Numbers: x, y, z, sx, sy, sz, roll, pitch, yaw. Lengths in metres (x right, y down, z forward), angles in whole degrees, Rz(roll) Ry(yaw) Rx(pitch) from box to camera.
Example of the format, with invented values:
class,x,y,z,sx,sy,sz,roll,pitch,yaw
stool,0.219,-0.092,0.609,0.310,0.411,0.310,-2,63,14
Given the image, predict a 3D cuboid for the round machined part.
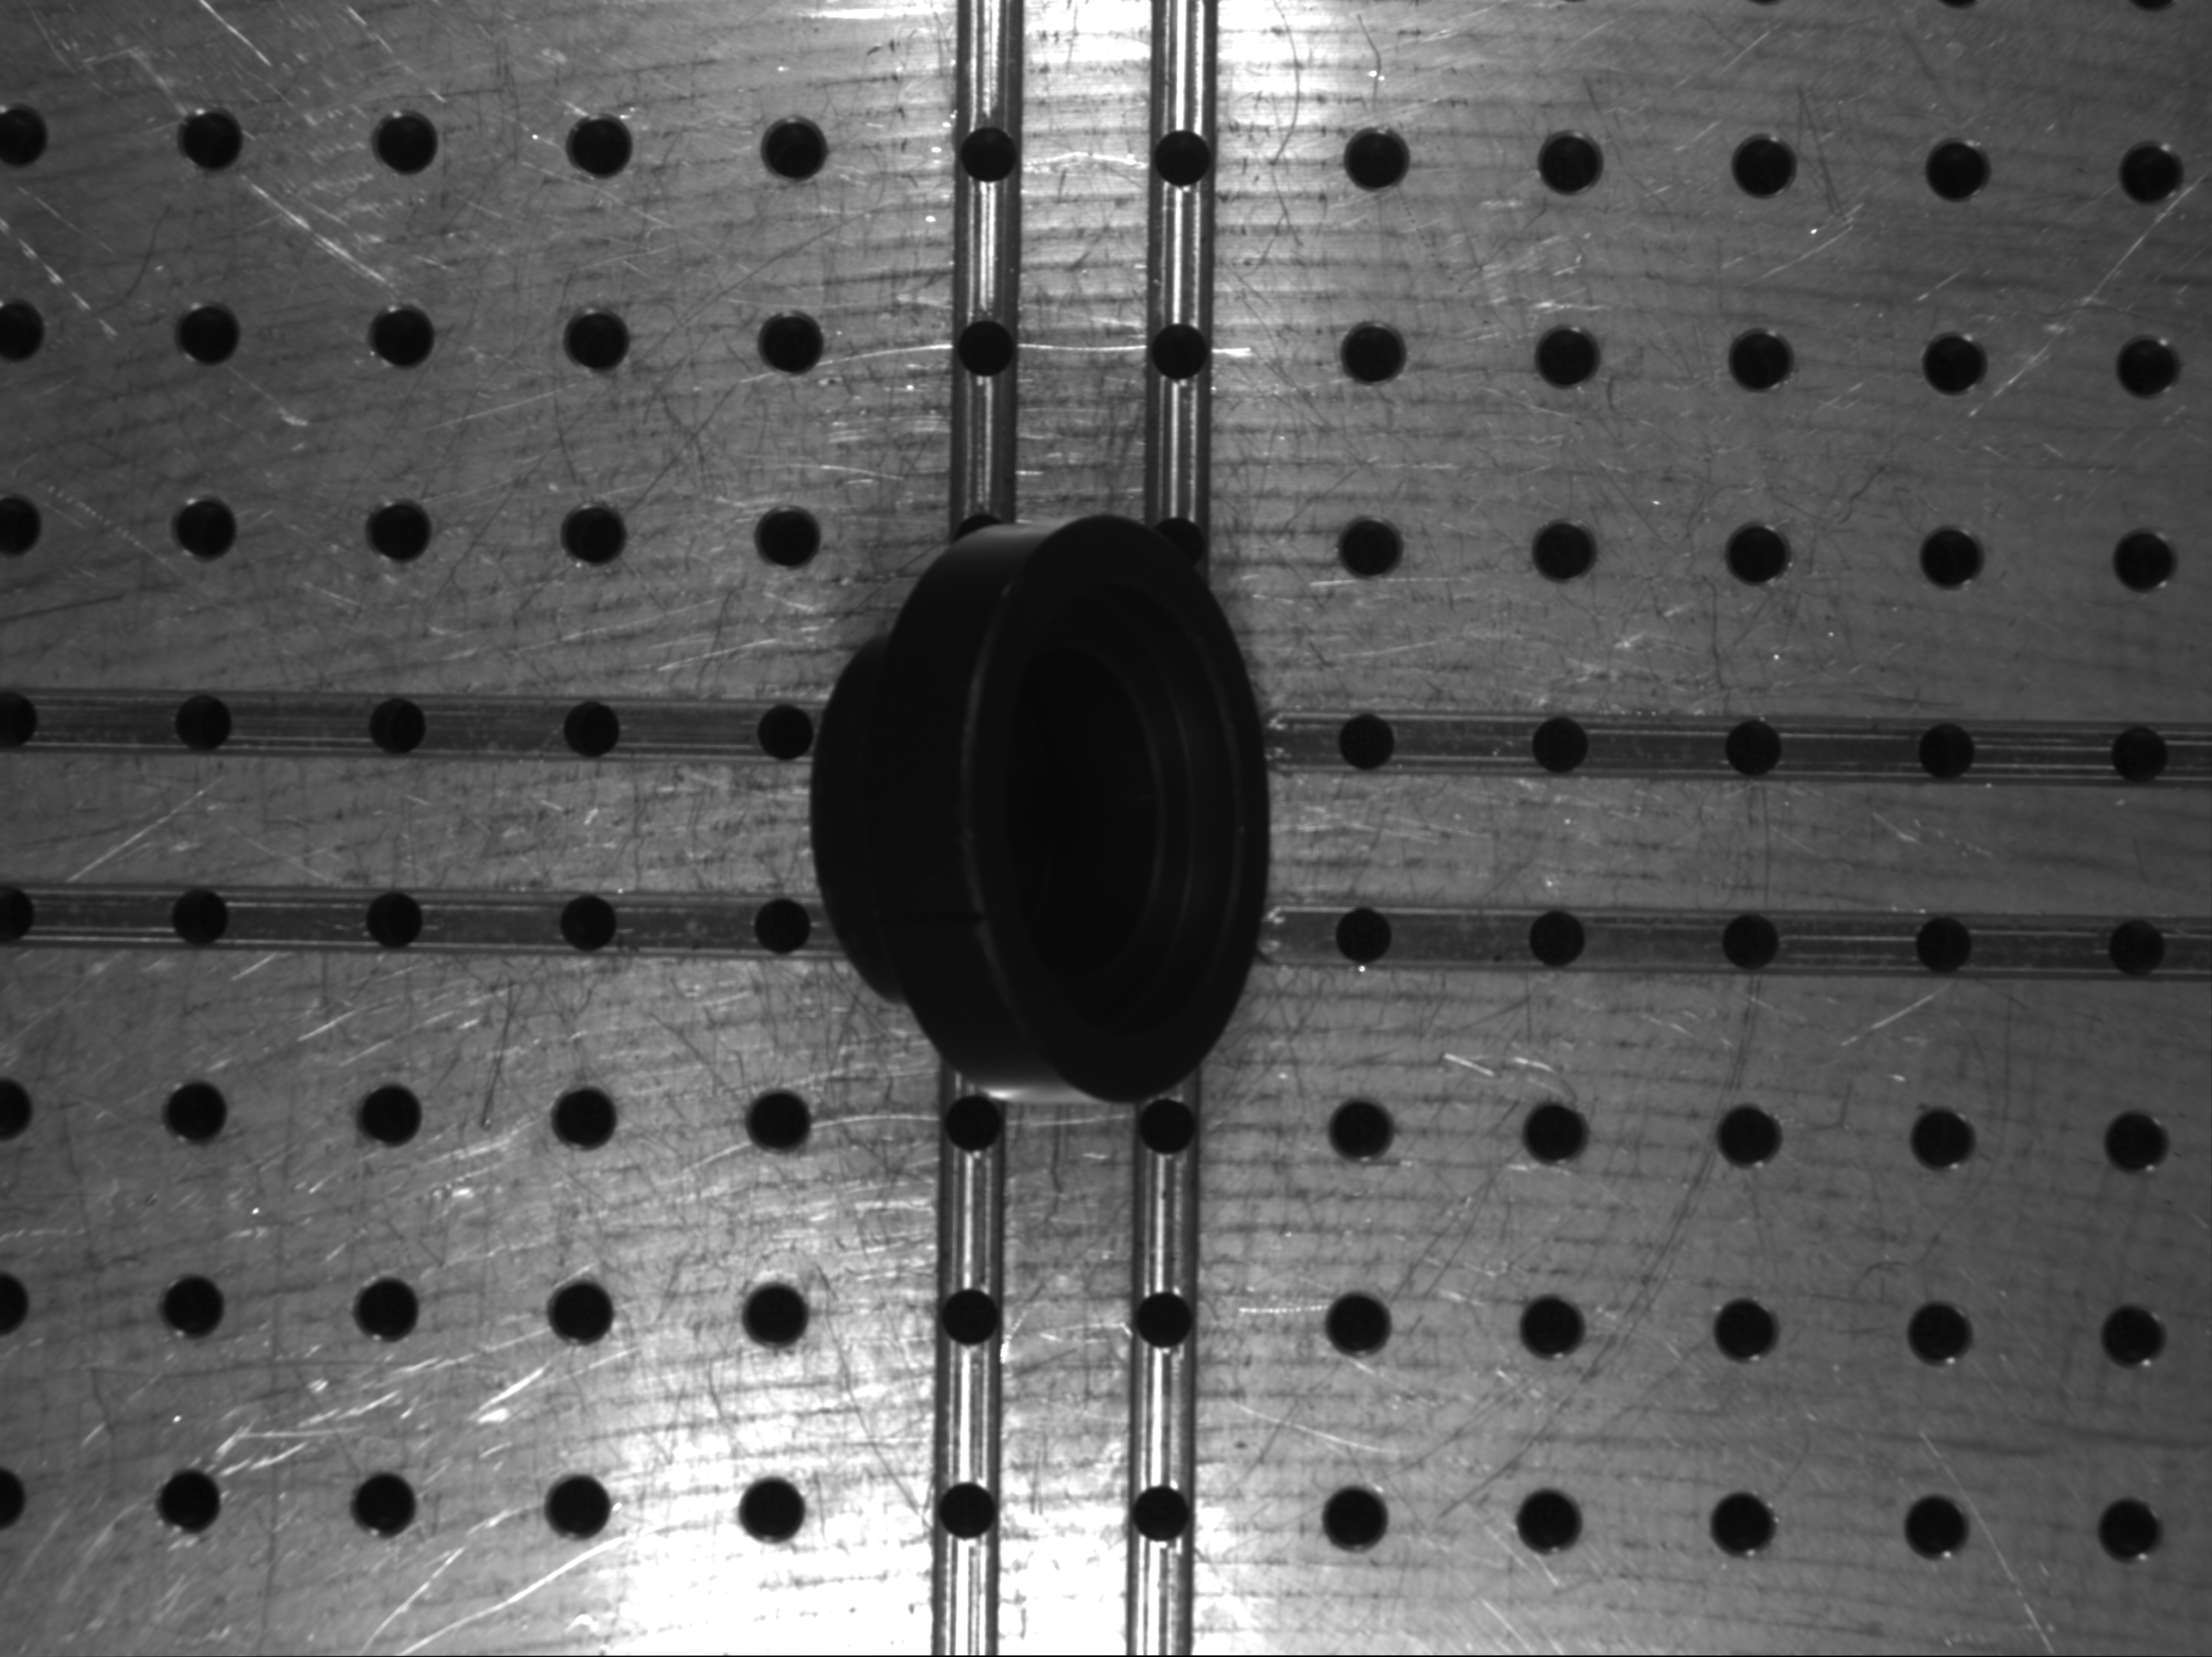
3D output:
class,x,y,z,sx,sy,sz,roll,pitch,yaw
round machined part,-0.015,-0.002,0.620,0.042,0.098,0.098,-3,90,31
